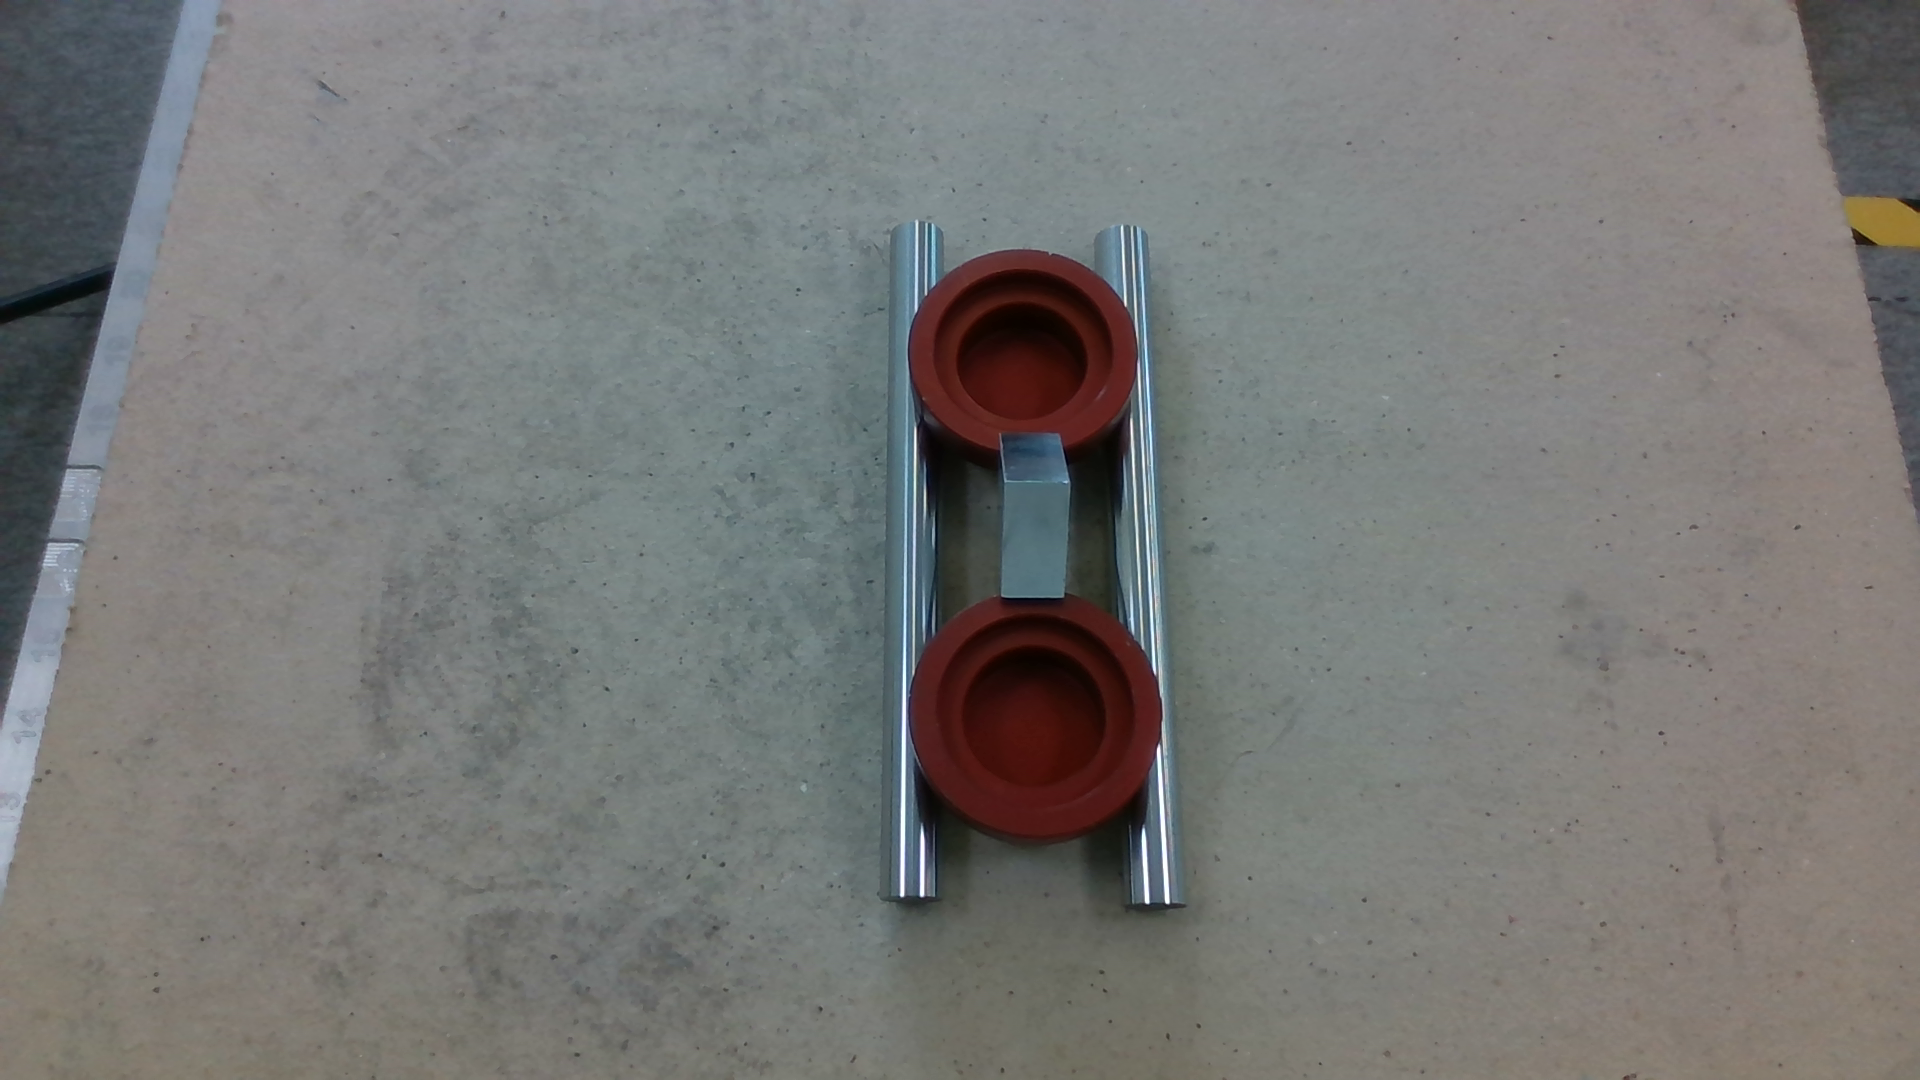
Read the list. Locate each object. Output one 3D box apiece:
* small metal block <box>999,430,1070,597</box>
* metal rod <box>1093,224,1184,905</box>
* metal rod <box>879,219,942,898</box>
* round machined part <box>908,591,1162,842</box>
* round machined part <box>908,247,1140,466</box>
[{"bbox_3d":[0.028,-0.011,0.551,0.025,0.050,0.050,0,27,-1],"label":"small metal block"},{"bbox_3d":[0.074,0.001,0.588,0.025,0.025,0.299,0,70,0],"label":"metal rod"},{"bbox_3d":[-0.020,-0.001,0.589,0.025,0.025,0.299,0,70,0],"label":"metal rod"},{"bbox_3d":[0.029,0.071,0.549,0.098,0.042,0.098,0,70,0],"label":"round machined part"},{"bbox_3d":[0.027,-0.075,0.602,0.098,0.042,0.098,0,70,0],"label":"round machined part"}]
